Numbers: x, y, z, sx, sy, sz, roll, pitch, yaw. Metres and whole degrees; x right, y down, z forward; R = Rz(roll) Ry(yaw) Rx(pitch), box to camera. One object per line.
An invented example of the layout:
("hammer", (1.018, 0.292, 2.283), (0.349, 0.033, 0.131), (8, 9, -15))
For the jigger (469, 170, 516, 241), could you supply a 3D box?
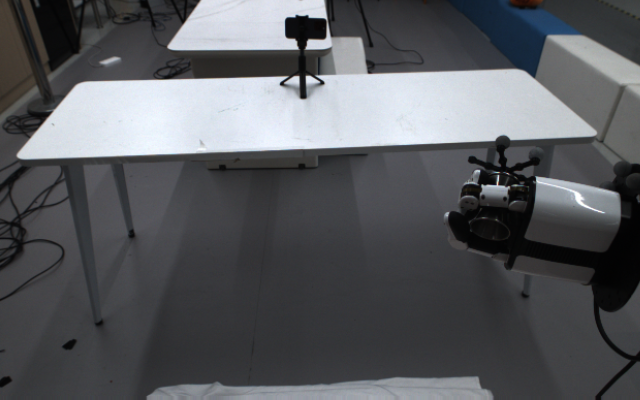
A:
("jigger", (0.202, 0.003, 0.550), (0.043, 0.043, 0.071), (15, 58, 18))
